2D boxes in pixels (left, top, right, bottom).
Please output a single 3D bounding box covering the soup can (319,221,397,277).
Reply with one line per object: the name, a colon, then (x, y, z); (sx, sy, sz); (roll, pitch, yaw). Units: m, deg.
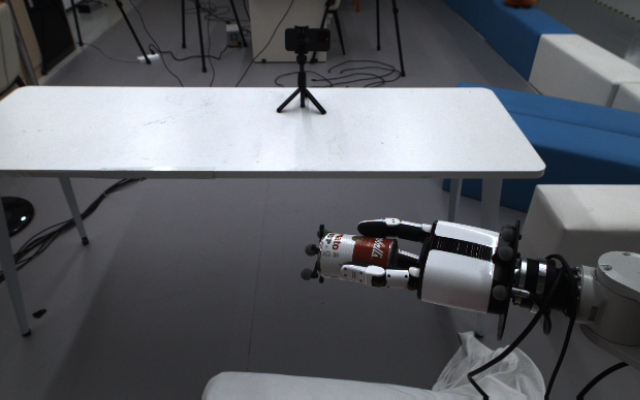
soup can: (0.057, 0.084, 0.688); (0.101, 0.067, 0.067); (4, 34, 18)
